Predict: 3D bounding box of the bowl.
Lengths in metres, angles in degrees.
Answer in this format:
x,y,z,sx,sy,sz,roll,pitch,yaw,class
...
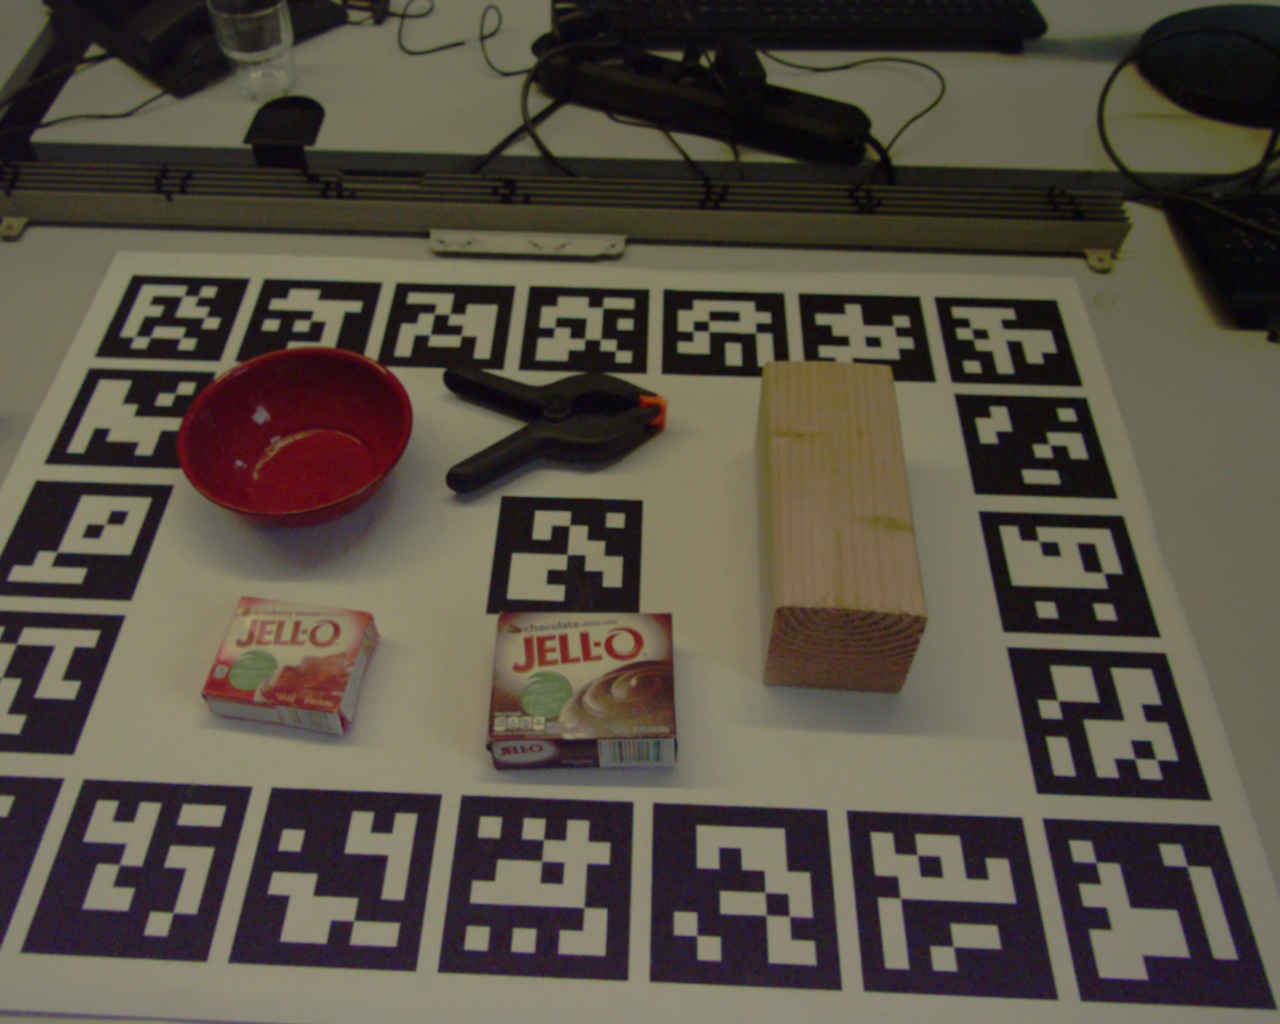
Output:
x,y,z,sx,sy,sz,roll,pitch,yaw,class
-0.242,-0.044,0.848,0.161,0.055,0.162,0,55,-1,bowl

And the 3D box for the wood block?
x,y,z,sx,sy,sz,roll,pitch,yaw,class
0.127,0.005,0.780,0.090,0.091,0.207,4,52,1,wood block

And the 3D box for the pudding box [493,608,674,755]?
x,y,z,sx,sy,sz,roll,pitch,yaw,class
-0.035,0.108,0.732,0.114,0.038,0.090,0,56,2,pudding box

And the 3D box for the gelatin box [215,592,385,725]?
x,y,z,sx,sy,sz,roll,pitch,yaw,class
-0.221,0.094,0.746,0.089,0.030,0.073,8,54,6,gelatin box

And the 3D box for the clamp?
x,y,z,sx,sy,sz,roll,pitch,yaw,class
-0.080,-0.066,0.880,0.164,0.036,0.122,-6,52,-7,clamp
